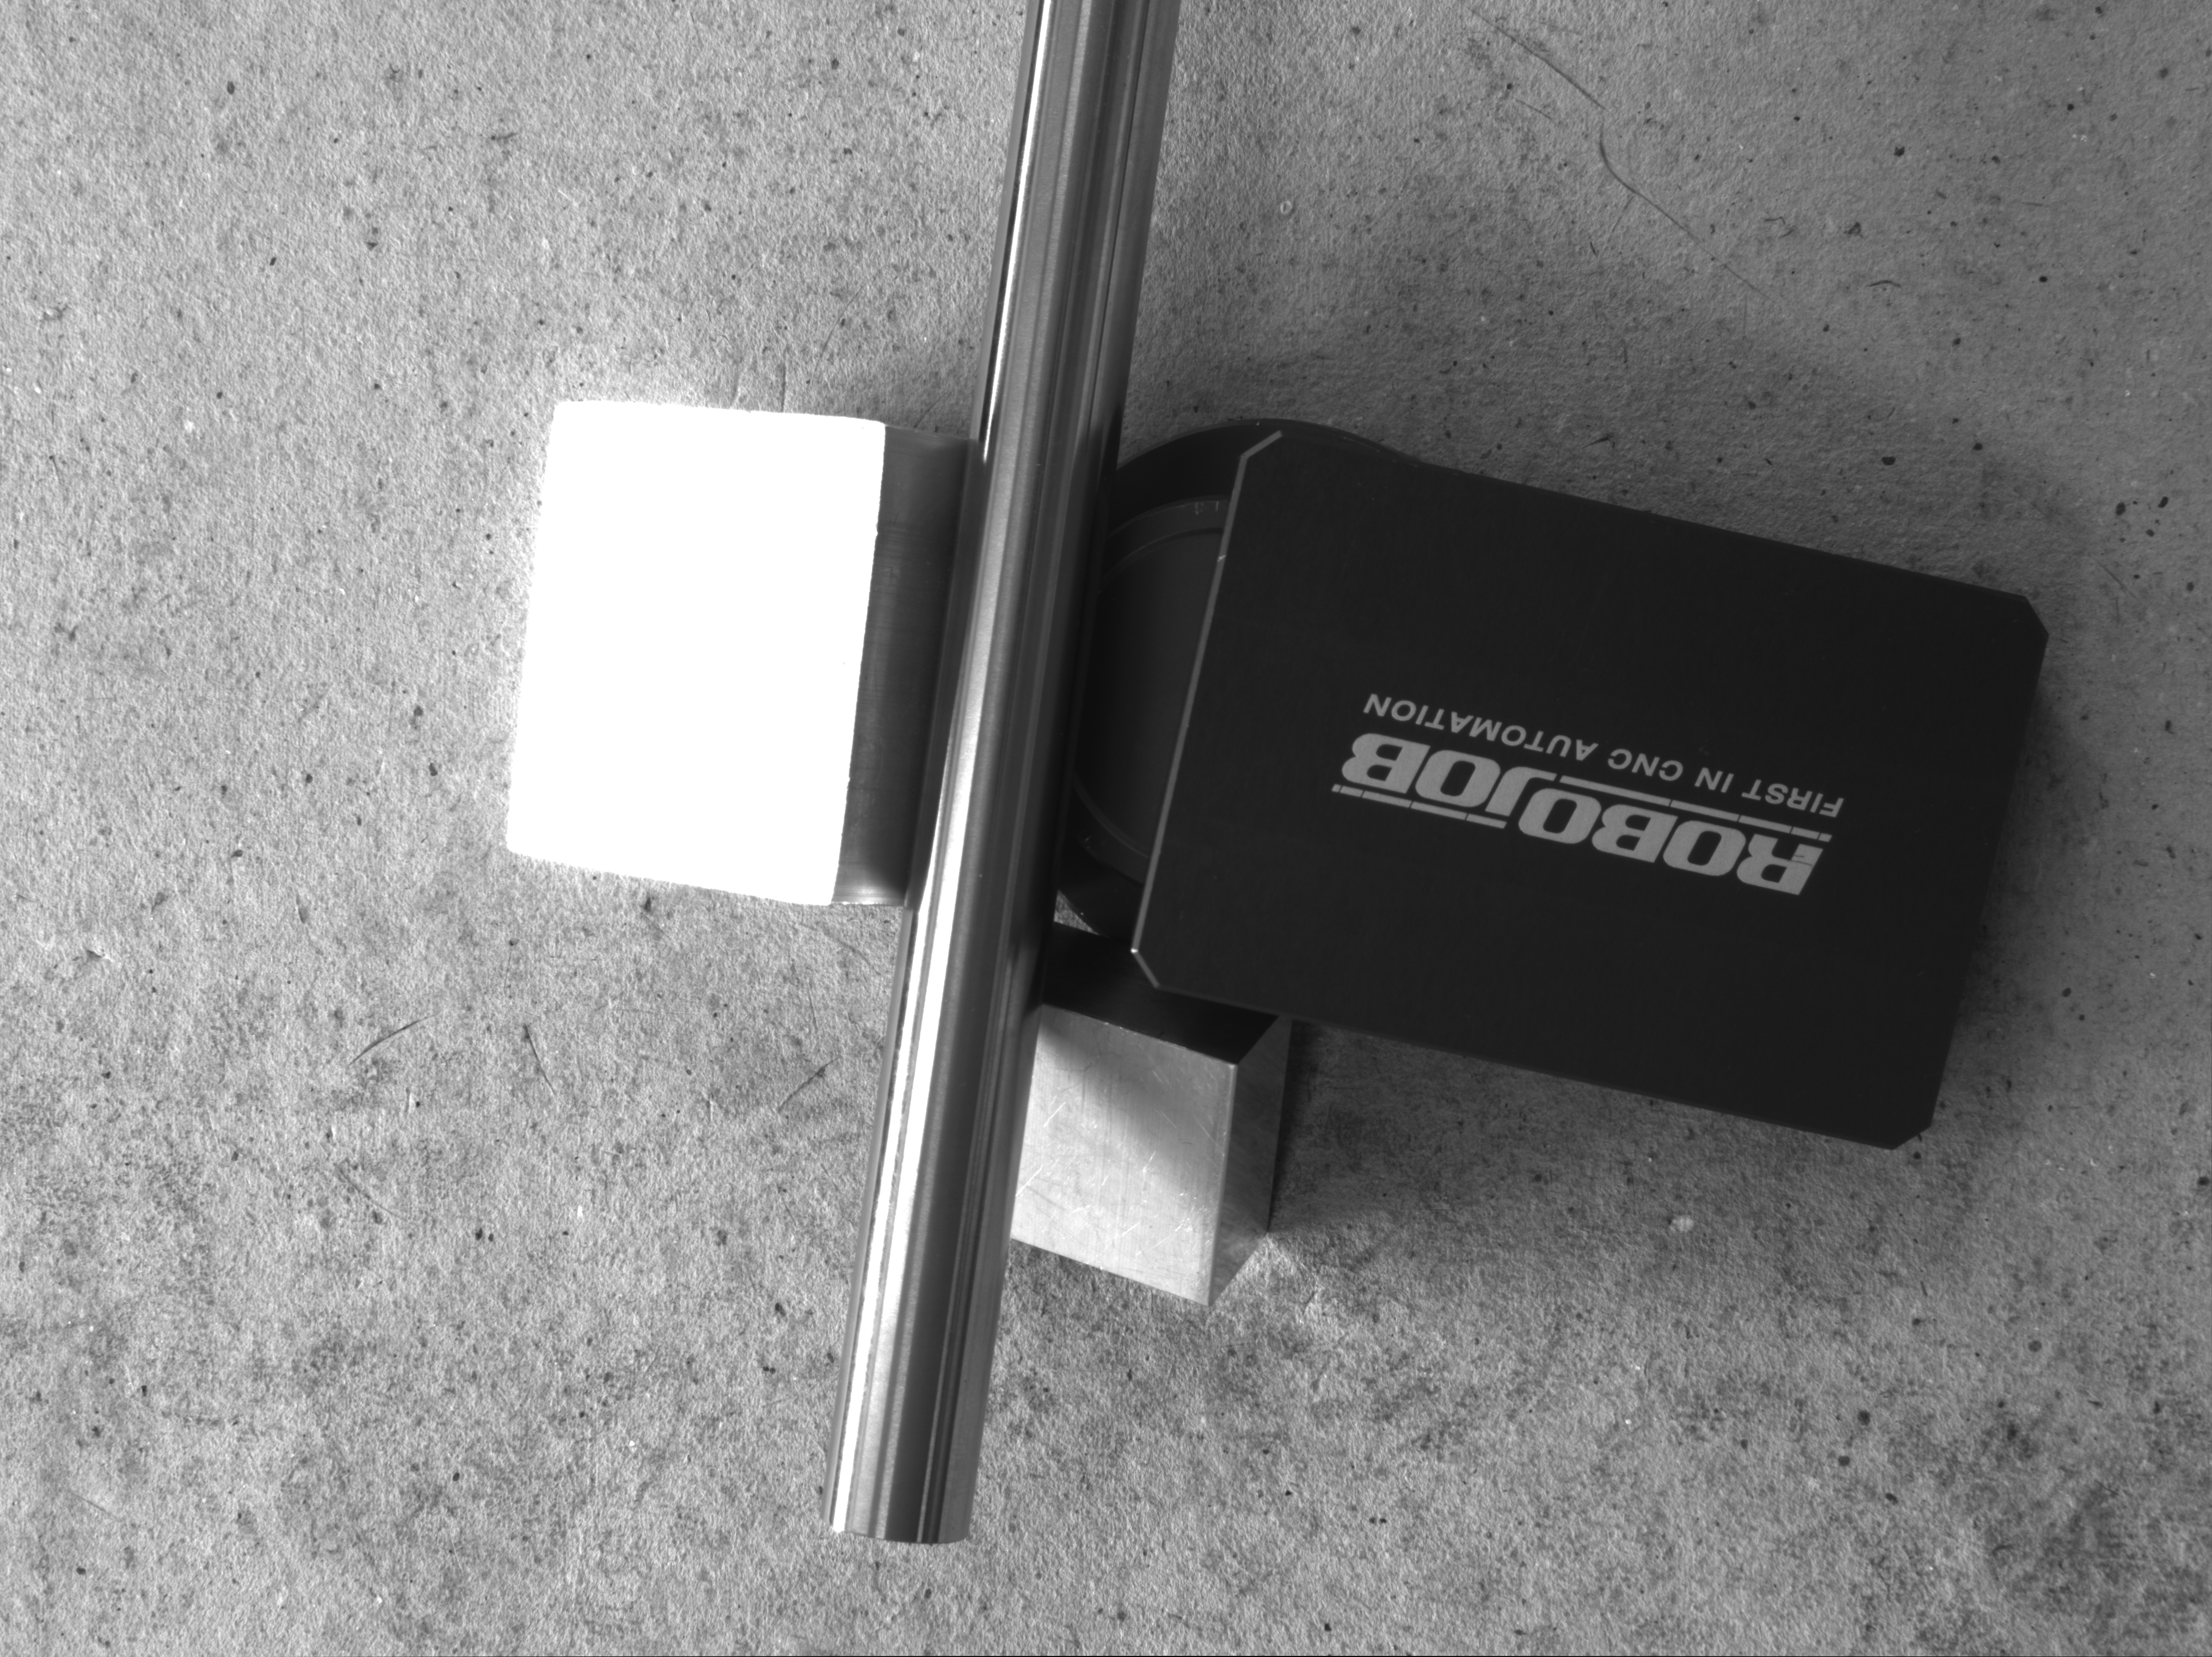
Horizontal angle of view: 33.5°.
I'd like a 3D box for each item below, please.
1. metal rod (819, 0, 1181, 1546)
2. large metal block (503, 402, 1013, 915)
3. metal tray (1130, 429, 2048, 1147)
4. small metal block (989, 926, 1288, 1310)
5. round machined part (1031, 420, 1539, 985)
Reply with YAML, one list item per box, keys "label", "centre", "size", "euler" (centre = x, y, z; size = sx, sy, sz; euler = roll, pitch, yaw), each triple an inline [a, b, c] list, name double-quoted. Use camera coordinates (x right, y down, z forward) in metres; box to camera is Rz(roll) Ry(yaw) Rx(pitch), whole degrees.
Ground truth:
- label: "metal rod"
  centre: [-0.015, -0.033, 0.608]
  size: [0.025, 0.025, 0.300]
  euler: [8, 91, 20]
- label: "large metal block"
  centre: [-0.055, -0.030, 0.642]
  size: [0.080, 0.050, 0.080]
  euler: [9, 93, 38]
- label: "metal tray"
  centre: [0.076, -0.007, 0.593]
  size: [0.130, 0.030, 0.090]
  euler: [12, 95, -1]
- label: "small metal block"
  centre: [0.002, 0.049, 0.636]
  size: [0.050, 0.025, 0.050]
  euler: [17, 121, 20]
- label: "round machined part"
  centre: [0.026, -0.021, 0.628]
  size: [0.098, 0.042, 0.098]
  euler: [0, 90, 20]
